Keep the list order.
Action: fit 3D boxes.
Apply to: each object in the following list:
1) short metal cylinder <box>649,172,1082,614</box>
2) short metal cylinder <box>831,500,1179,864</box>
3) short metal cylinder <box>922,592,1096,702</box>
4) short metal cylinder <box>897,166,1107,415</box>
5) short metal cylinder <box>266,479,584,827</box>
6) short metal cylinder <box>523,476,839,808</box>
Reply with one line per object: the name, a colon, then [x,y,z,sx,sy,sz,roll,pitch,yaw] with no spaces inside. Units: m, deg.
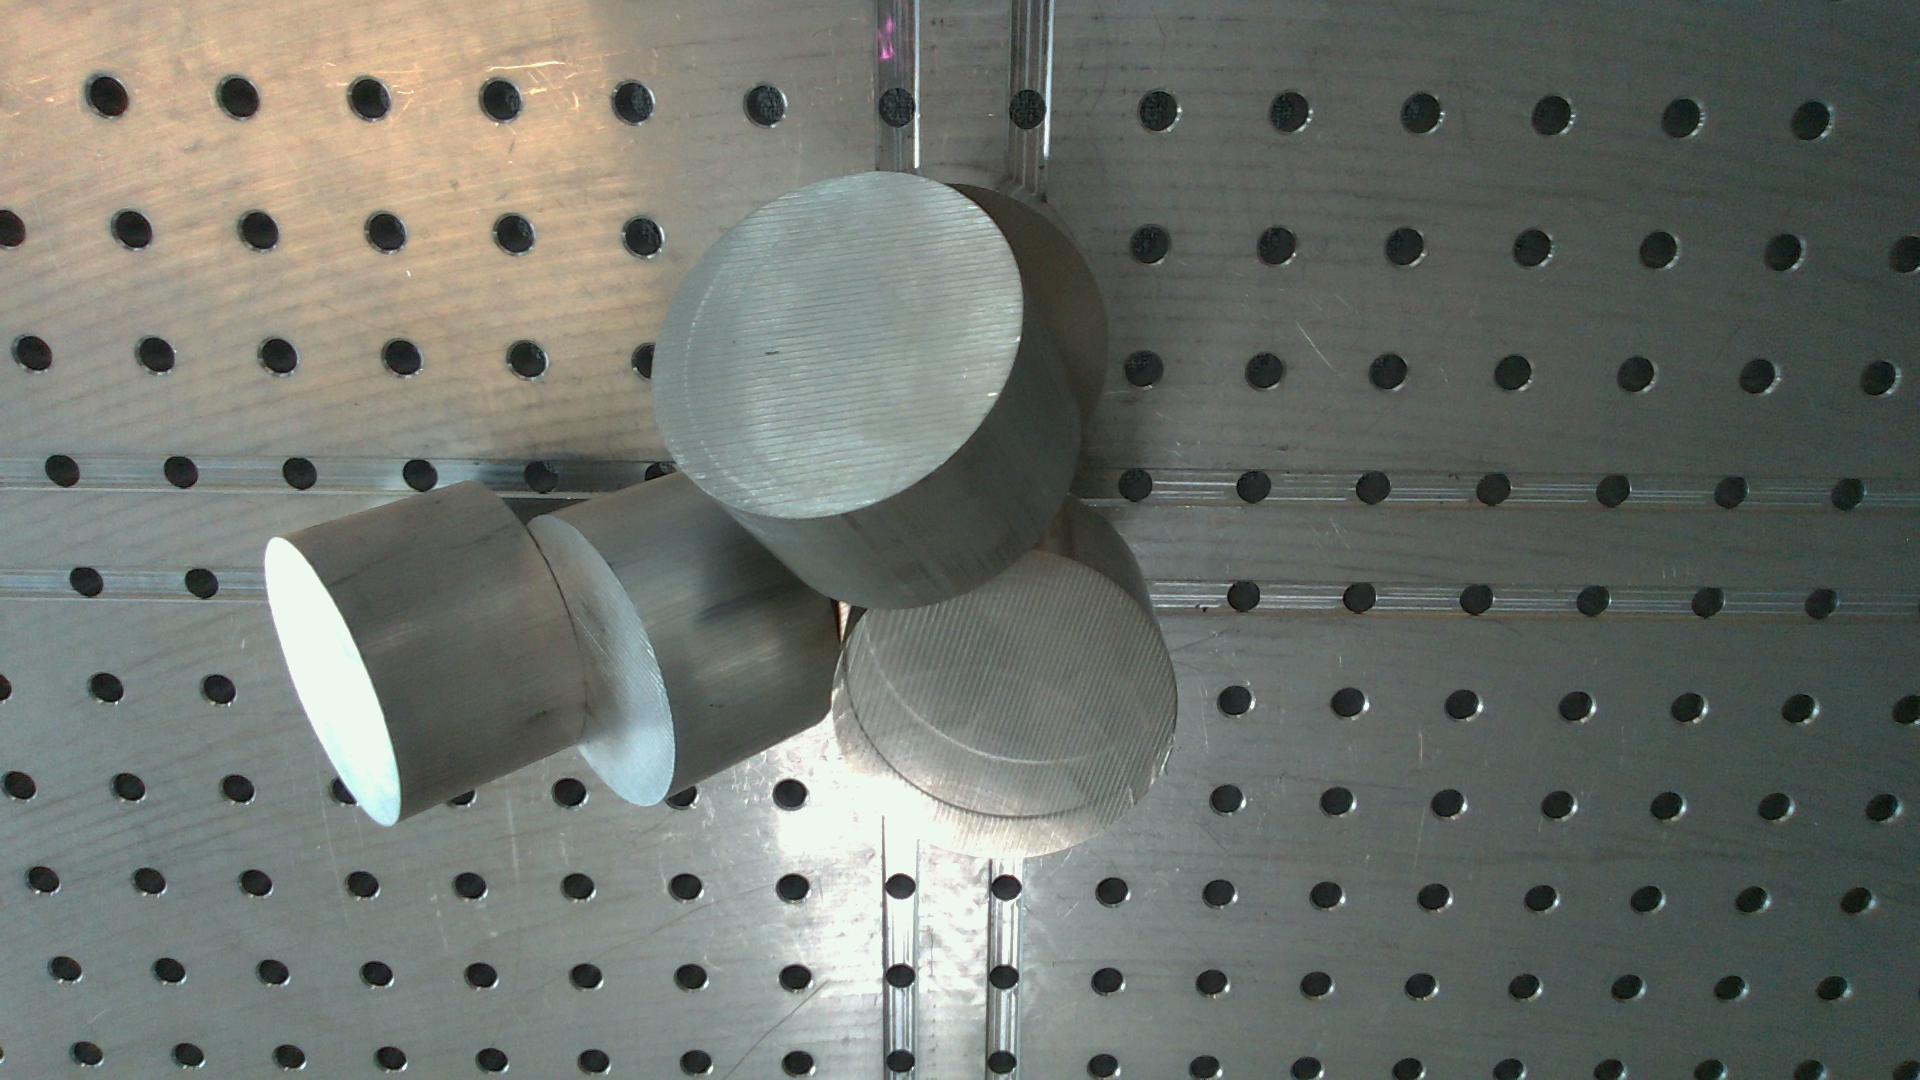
short metal cylinder: [-0.018,-0.030,0.295,0.080,0.080,0.050,-23,152,8]
short metal cylinder: [0.011,0.032,0.340,0.080,0.050,0.080,0,110,0]
short metal cylinder: [0.001,0.020,0.390,0.080,0.050,0.080,0,110,0]
short metal cylinder: [-0.004,-0.056,0.362,0.080,0.050,0.080,0,110,0]
short metal cylinder: [-0.144,0.029,0.370,0.050,0.080,0.080,-24,115,-37]
short metal cylinder: [-0.076,0.024,0.368,0.050,0.080,0.080,-23,115,-36]
